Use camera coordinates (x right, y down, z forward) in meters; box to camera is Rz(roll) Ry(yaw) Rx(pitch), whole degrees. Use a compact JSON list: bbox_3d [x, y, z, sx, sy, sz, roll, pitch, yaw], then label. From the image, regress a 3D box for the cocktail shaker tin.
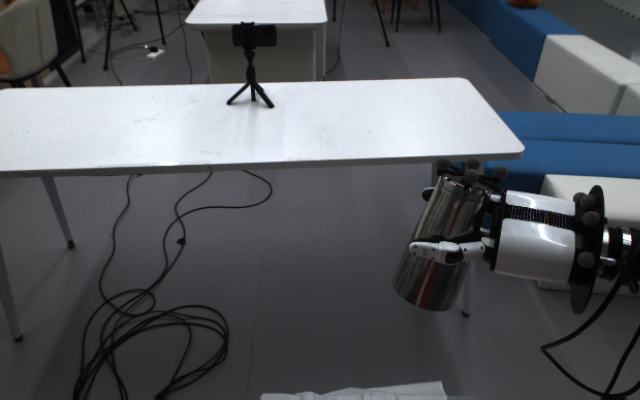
[{"bbox_3d":[0.167,0.048,0.643,0.093,0.170,0.093,12,24,-5],"label":"cocktail shaker tin"}]
